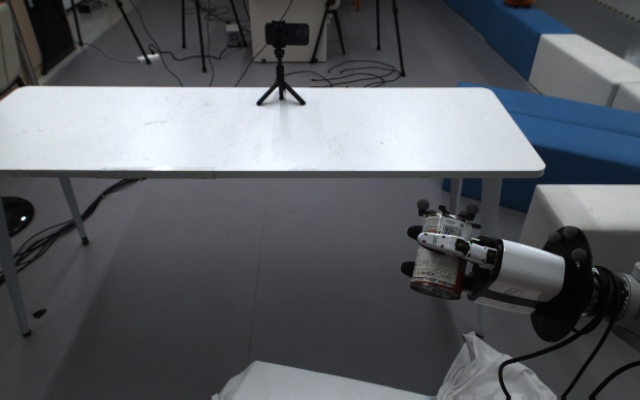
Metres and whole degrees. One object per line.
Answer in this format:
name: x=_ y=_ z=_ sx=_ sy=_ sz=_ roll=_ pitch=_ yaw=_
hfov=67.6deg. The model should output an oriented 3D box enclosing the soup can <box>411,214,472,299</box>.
soup can: x=0.168 y=0.076 z=0.658 sx=0.067 sy=0.067 sz=0.101 roll=11 pitch=72 yaw=13
